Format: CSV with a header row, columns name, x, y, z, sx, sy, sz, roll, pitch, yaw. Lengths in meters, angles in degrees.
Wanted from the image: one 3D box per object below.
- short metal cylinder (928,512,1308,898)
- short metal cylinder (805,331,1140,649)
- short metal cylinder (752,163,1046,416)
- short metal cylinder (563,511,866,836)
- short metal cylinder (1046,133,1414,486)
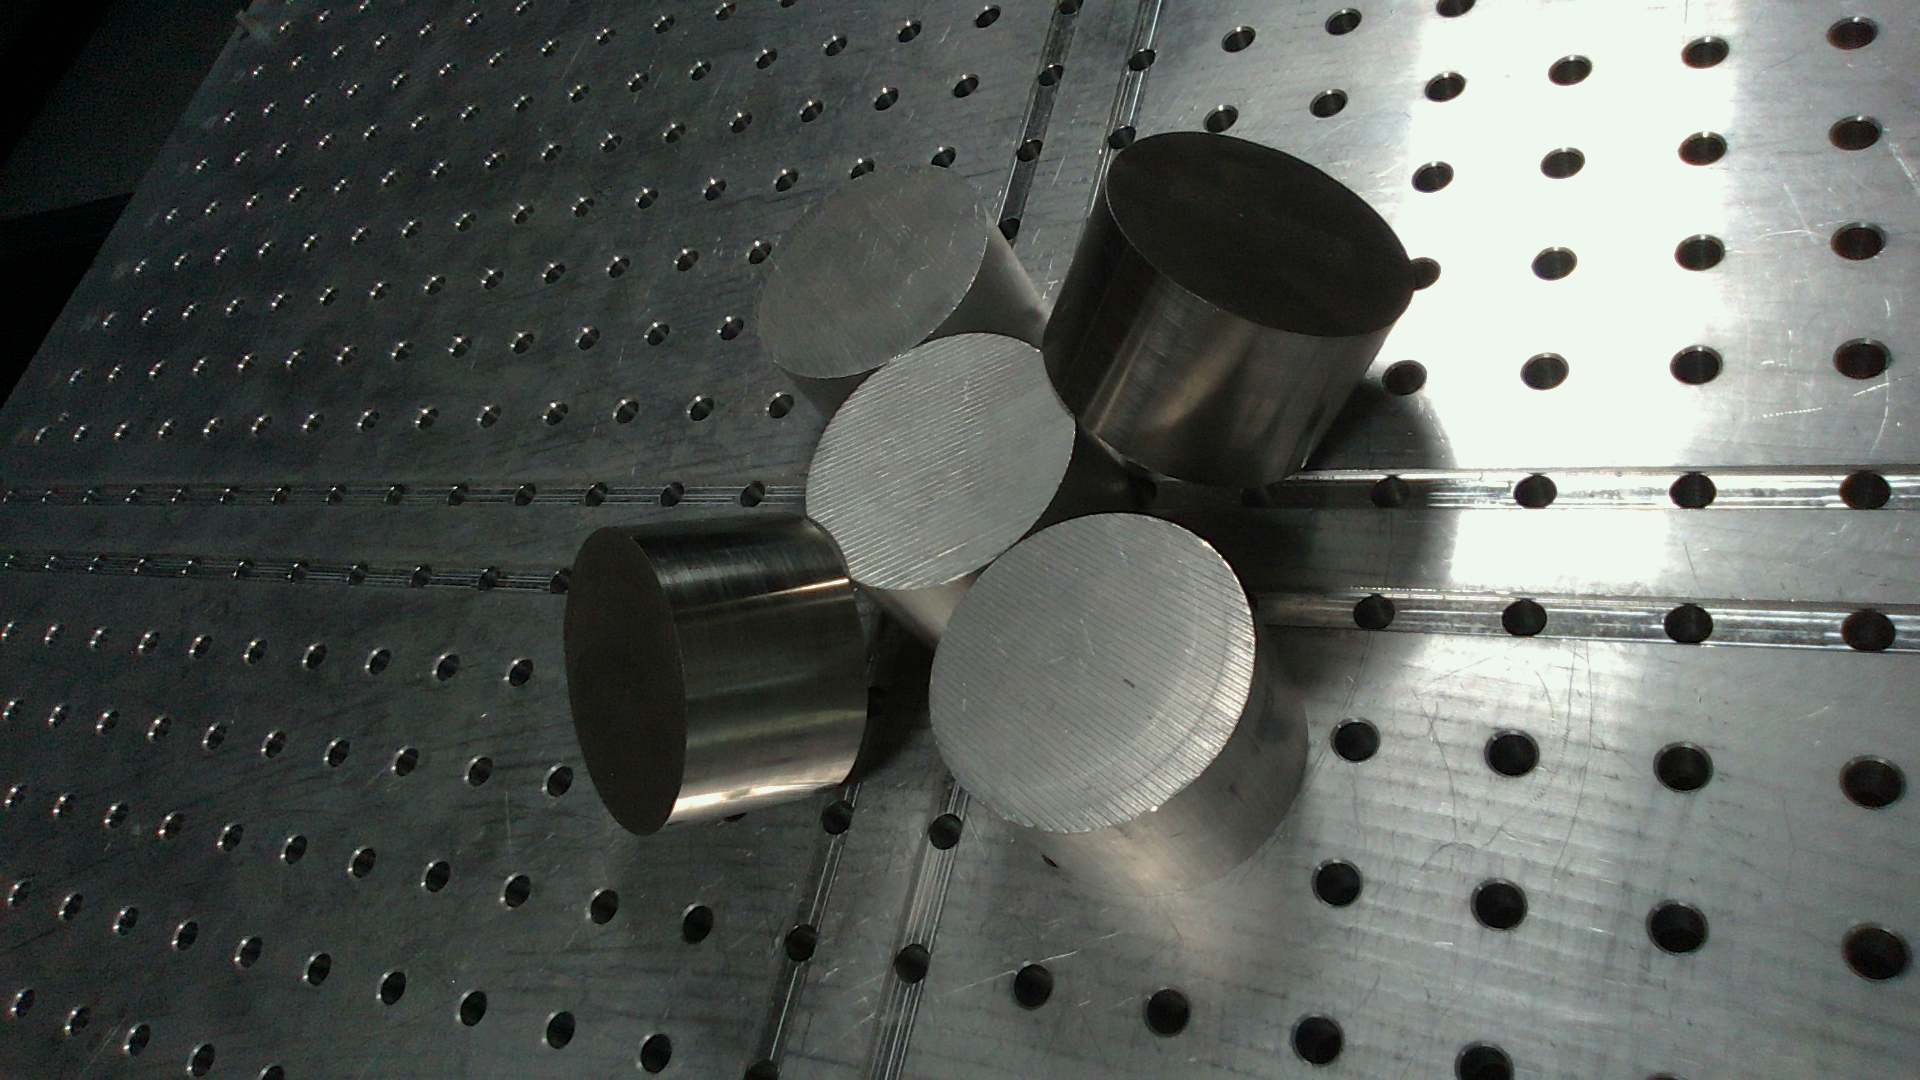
name,x,y,z,sx,sy,sz,roll,pitch,yaw
short metal cylinder,0.039,0.040,0.334,0.080,0.050,0.080,-14,56,21
short metal cylinder,0.004,-0.011,0.385,0.080,0.050,0.080,-14,56,21
short metal cylinder,-0.018,-0.071,0.434,0.080,0.050,0.080,-14,56,21
short metal cylinder,-0.068,0.034,0.370,0.080,0.050,0.080,12,105,53
short metal cylinder,0.068,-0.060,0.355,0.080,0.050,0.080,11,46,-11
